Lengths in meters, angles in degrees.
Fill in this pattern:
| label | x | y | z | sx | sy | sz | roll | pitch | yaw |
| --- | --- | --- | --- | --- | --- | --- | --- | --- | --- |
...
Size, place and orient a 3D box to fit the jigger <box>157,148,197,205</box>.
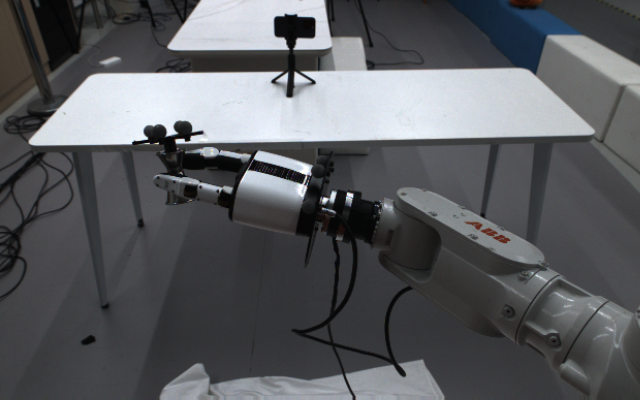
| label | x | y | z | sx | sy | sz | roll | pitch | yaw |
| --- | --- | --- | --- | --- | --- | --- | --- | --- | --- |
| jigger | -0.189 | -0.032 | 0.644 | 0.043 | 0.071 | 0.043 | -8 | 14 | 2 |
